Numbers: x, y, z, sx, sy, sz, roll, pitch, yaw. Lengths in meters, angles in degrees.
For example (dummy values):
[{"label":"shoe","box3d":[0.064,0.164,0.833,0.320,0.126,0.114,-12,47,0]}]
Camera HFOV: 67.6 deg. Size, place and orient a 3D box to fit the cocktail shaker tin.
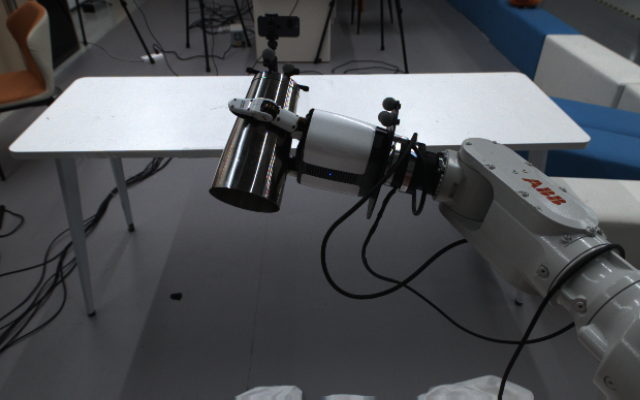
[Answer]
[{"label":"cocktail shaker tin","box3d":[-0.078,-0.077,0.634,0.093,0.093,0.170,10,73,12]}]
